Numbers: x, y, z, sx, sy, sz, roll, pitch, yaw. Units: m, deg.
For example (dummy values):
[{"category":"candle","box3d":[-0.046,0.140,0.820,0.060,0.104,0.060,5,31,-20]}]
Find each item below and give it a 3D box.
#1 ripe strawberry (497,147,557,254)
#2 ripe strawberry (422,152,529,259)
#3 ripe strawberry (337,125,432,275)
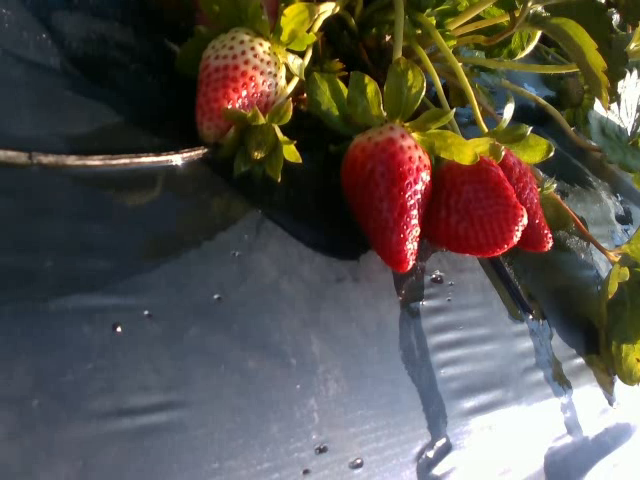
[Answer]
[{"category":"ripe strawberry","box3d":[0.067,-0.009,0.213,0.035,0.034,0.041,-1,42,-41]},{"category":"ripe strawberry","box3d":[0.048,-0.011,0.191,0.031,0.036,0.039,18,16,-40]},{"category":"ripe strawberry","box3d":[0.022,-0.012,0.177,0.032,0.045,0.023,4,-16,-41]}]
